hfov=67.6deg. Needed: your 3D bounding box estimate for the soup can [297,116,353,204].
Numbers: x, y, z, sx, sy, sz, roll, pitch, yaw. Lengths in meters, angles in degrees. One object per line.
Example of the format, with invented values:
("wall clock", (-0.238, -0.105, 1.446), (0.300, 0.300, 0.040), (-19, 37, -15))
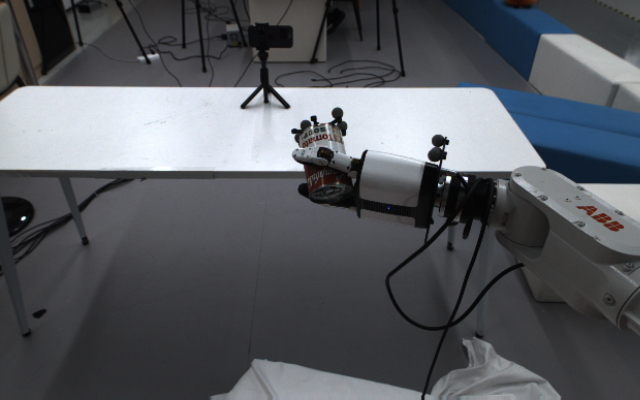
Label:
("soup can", (0.010, -0.053, 0.720), (0.067, 0.067, 0.101), (-6, 67, -12))
